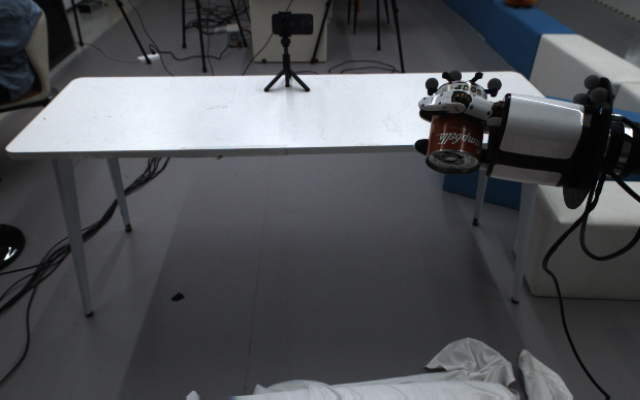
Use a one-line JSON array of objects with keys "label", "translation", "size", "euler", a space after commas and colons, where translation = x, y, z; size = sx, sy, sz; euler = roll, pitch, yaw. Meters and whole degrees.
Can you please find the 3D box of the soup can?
[{"label": "soup can", "translation": [0.177, -0.093, 0.619], "size": [0.067, 0.067, 0.101], "euler": [9, 70, 10]}]
